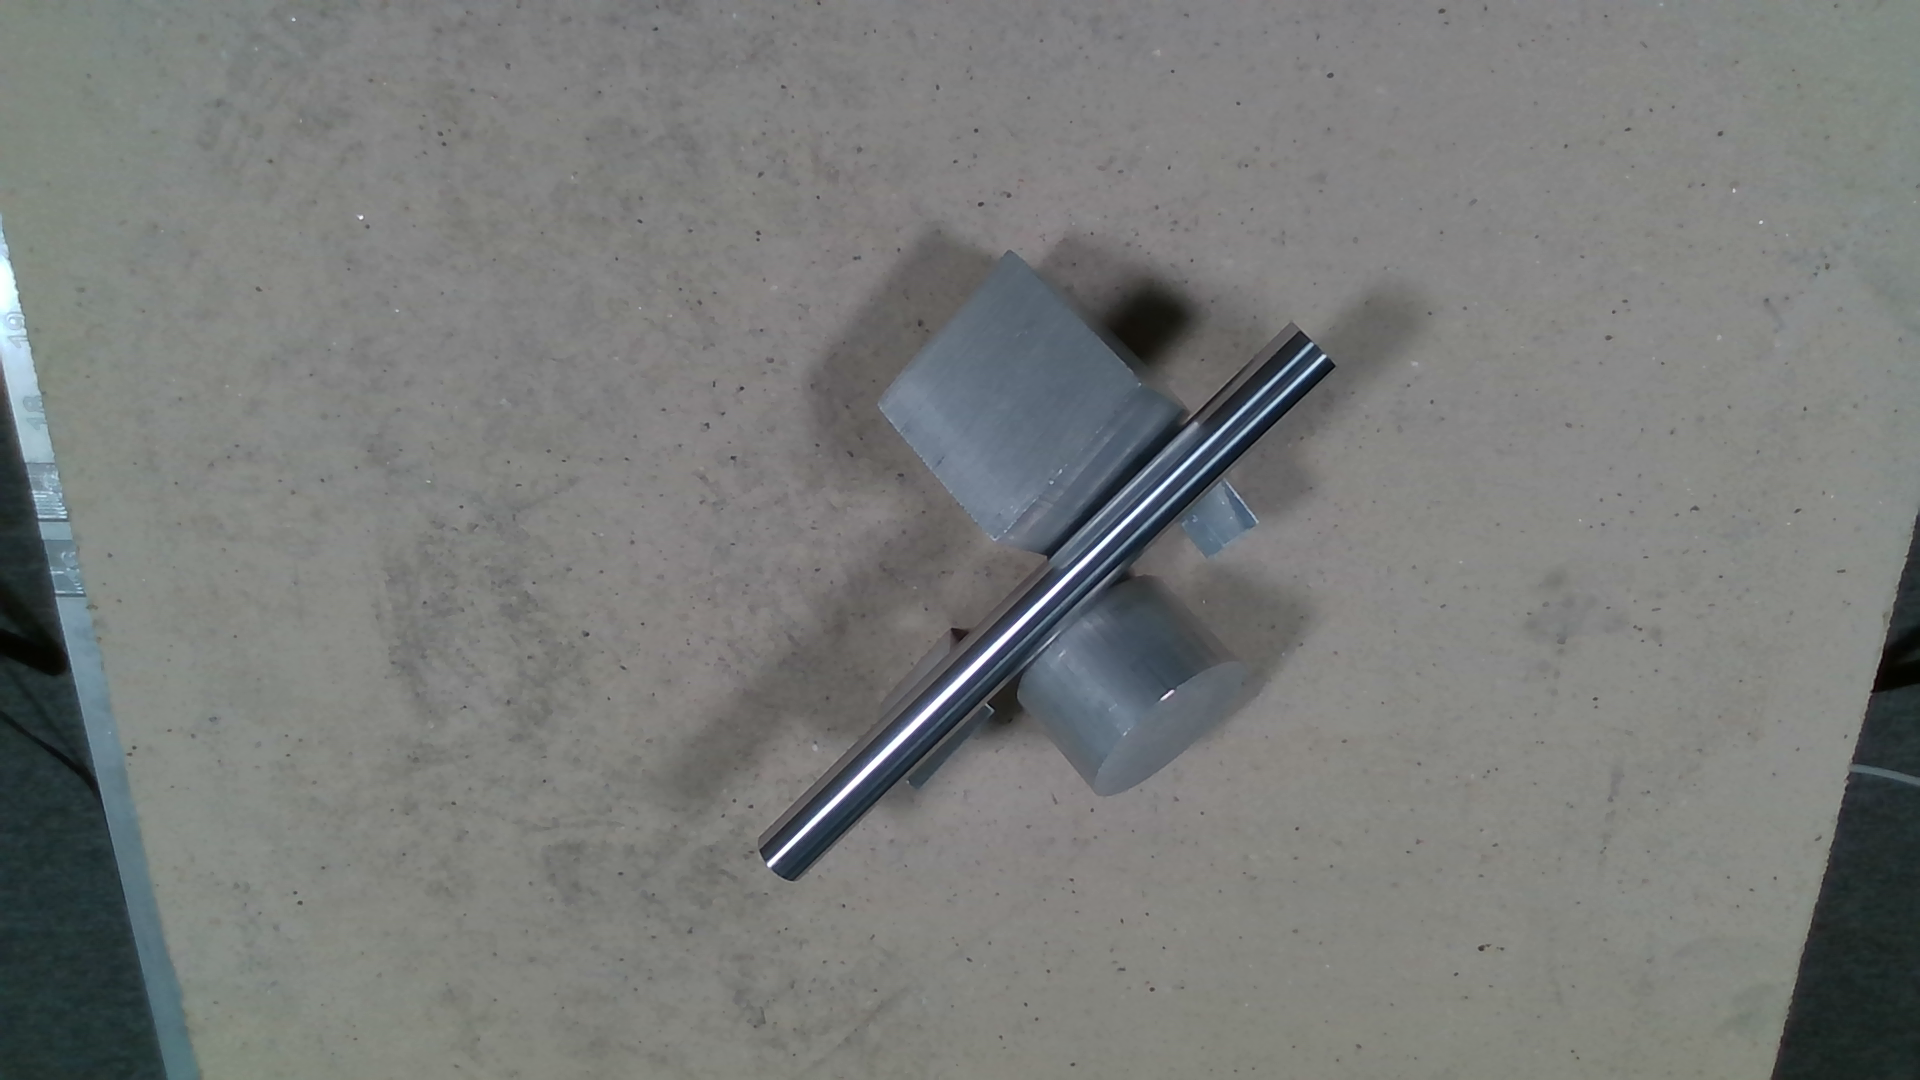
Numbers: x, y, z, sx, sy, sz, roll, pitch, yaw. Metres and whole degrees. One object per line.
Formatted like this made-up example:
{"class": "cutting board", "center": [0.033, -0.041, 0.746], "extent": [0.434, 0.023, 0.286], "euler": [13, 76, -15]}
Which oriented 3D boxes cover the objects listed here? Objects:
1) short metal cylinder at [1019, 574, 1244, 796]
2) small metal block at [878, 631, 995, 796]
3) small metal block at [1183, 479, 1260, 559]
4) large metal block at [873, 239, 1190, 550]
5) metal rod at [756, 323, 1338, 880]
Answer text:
{"class": "short metal cylinder", "center": [0.070, 0.060, 0.571], "extent": [0.080, 0.080, 0.050], "euler": [-49, 62, 16]}
{"class": "small metal block", "center": [-0.011, 0.074, 0.596], "extent": [0.025, 0.050, 0.050], "euler": [39, 106, -13]}
{"class": "small metal block", "center": [0.093, -0.027, 0.562], "extent": [0.025, 0.050, 0.050], "euler": [-37, 106, 13]}
{"class": "large metal block", "center": [0.027, -0.054, 0.533], "extent": [0.080, 0.050, 0.080], "euler": [-48, 63, 16]}
{"class": "metal rod", "center": [0.027, 0.031, 0.543], "extent": [0.025, 0.025, 0.300], "euler": [42, 105, -14]}
